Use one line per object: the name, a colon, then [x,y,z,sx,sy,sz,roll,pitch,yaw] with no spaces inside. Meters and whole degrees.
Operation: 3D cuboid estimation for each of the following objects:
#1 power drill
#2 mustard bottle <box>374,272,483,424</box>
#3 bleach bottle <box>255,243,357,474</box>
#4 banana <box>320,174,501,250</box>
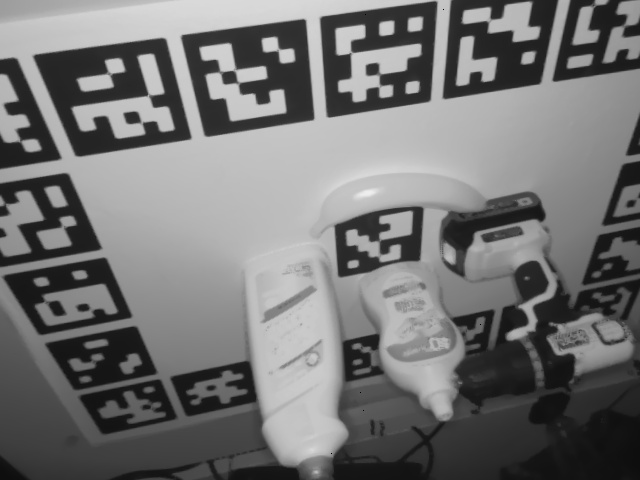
power drill: [0.222,0.069,0.714,0.185,0.188,0.057,-10,138,-1]
mustard bottle: [0.124,0.119,0.757,0.096,0.192,0.058,-8,131,-4]
bleach bottle: [-0.005,0.112,0.690,0.103,0.252,0.067,-16,130,1]
banana: [0.095,-0.034,0.719,0.199,0.039,0.073,-9,127,-9]
